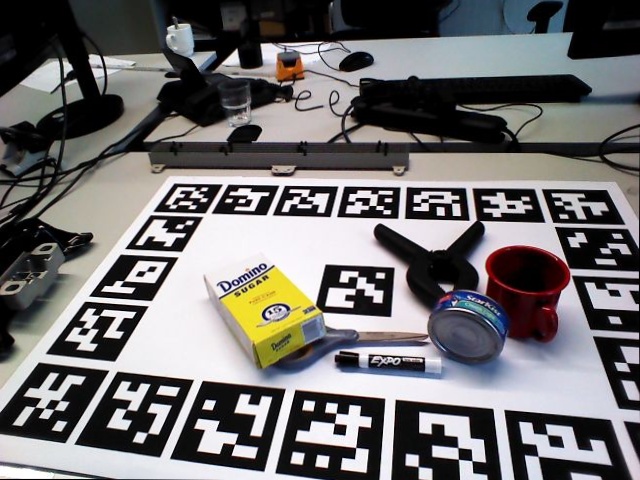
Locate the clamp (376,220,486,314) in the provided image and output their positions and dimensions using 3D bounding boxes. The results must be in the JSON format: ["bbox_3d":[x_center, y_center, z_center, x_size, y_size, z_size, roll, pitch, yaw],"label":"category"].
[{"bbox_3d":[0.169,0.039,0.718,0.166,0.037,0.201,-4,38,3],"label":"clamp"}]

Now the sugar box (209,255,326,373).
[{"bbox_3d":[-0.073,0.085,0.663,0.092,0.045,0.176,-21,33,-18],"label":"sugar box"}]

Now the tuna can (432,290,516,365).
[{"bbox_3d":[0.171,0.099,0.579,0.086,0.086,0.033,13,41,25],"label":"tuna can"}]

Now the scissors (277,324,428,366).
[{"bbox_3d":[0.030,0.115,0.634,0.203,0.016,0.087,-3,33,2],"label":"scissors"}]

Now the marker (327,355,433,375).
[{"bbox_3d":[0.068,0.143,0.594,0.121,0.020,0.019,-1,38,9],"label":"marker"}]

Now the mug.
[{"bbox_3d":[0.239,0.073,0.611,0.093,0.081,0.117,-15,34,-11],"label":"mug"}]
